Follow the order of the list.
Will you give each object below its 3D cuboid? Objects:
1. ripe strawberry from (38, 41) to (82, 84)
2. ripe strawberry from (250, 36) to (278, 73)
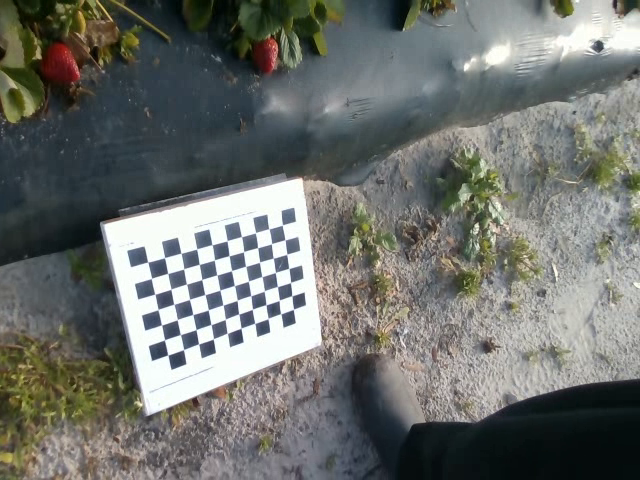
[{"bbox_3d":[-0.189,-0.125,0.473,0.030,0.032,0.025,40,-15,-12],"label":"ripe strawberry"},{"bbox_3d":[-0.046,-0.161,0.569,0.029,0.036,0.021,-14,8,-26],"label":"ripe strawberry"}]
